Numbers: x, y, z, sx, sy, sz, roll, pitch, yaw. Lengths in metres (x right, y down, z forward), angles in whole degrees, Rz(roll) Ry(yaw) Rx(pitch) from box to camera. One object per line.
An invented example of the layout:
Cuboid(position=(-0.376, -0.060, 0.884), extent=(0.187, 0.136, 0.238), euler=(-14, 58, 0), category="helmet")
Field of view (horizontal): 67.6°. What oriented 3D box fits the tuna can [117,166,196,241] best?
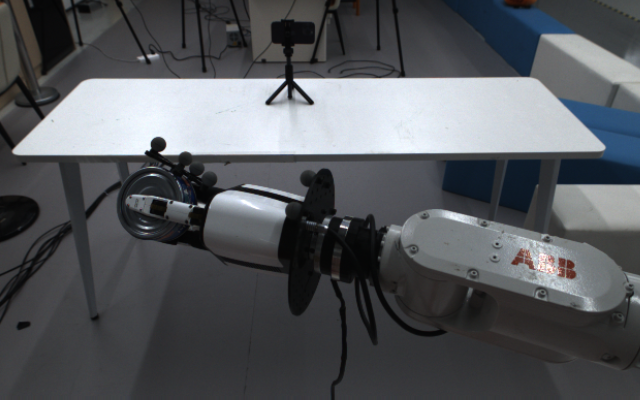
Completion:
Cuboid(position=(-0.185, 0.011, 0.555), extent=(0.085, 0.085, 0.034), euler=(12, -4, 14), category="tuna can")
